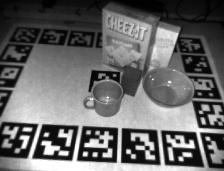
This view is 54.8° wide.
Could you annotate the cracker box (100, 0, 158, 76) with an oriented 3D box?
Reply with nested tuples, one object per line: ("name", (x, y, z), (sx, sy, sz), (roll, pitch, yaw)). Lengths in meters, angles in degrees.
("cracker box", (0.043, -0.150, 0.707), (0.163, 0.214, 0.072), (27, 52, 18))

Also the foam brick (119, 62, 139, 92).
("foam brick", (0.052, -0.026, 0.698), (0.052, 0.078, 0.051), (15, 50, 11))

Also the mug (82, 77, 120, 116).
("mug", (-0.035, 0.034, 0.630), (0.117, 0.082, 0.092), (-5, 42, -4))

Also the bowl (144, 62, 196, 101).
("bowl", (0.173, 0.003, 0.677), (0.162, 0.055, 0.161), (2, 51, -2))

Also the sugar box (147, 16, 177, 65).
("sugar box", (0.154, -0.143, 0.730), (0.092, 0.177, 0.045), (19, 52, 14))
